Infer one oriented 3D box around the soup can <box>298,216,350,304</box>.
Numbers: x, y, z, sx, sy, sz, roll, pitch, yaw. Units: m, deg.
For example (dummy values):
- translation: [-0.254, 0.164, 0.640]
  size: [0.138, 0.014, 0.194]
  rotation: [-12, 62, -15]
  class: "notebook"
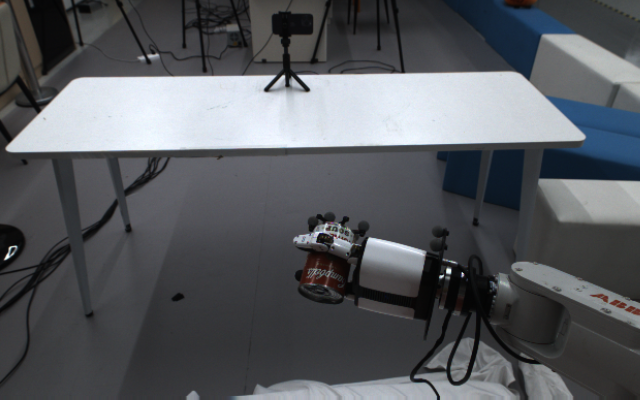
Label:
- translation: [0.013, 0.091, 0.701]
  size: [0.067, 0.067, 0.101]
  rotation: [9, 58, 10]
  class: "soup can"
